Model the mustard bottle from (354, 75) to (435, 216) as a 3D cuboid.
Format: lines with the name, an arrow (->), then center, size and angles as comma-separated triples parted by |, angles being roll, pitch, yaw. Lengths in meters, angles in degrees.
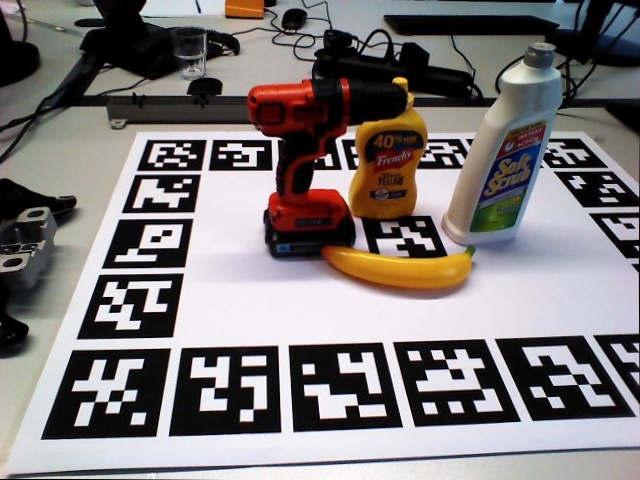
mustard bottle -> 0.101, -0.122, 0.683 | 0.096, 0.192, 0.058 | 0, 40, -6

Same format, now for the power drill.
power drill -> 0.006, -0.095, 0.616 | 0.184, 0.188, 0.057 | -1, 34, -9

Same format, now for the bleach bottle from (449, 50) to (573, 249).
bleach bottle -> 0.237, -0.104, 0.636 | 0.102, 0.252, 0.067 | -7, 43, -11

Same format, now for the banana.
banana -> 0.115, 0.027, 0.624 | 0.198, 0.039, 0.074 | -1, 45, -1
